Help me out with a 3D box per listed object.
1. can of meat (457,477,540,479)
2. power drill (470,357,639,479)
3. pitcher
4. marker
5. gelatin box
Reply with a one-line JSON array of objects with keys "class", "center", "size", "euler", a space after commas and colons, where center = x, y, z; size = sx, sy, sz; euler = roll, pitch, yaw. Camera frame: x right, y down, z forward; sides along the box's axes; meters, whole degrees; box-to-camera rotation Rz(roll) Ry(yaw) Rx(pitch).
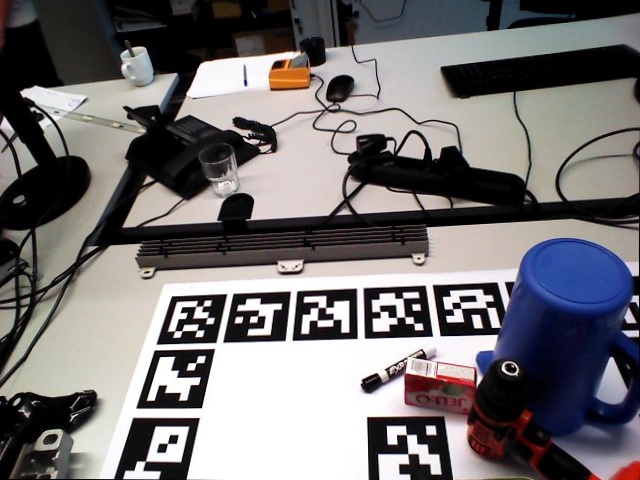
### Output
[{"class": "can of meat", "center": [0.187, 0.293, 0.540], "size": [0.102, 0.084, 0.057], "euler": [-4, 43, 7]}, {"class": "power drill", "center": [0.251, 0.212, 0.543], "size": [0.187, 0.185, 0.057], "euler": [28, 59, 26]}, {"class": "pitcher", "center": [0.301, 0.120, 0.593], "size": [0.190, 0.243, 0.132], "euler": [18, 54, 35]}, {"class": "marker", "center": [0.120, 0.168, 0.727], "size": [0.121, 0.020, 0.019], "euler": [-23, 46, -10]}, {"class": "gelatin box", "center": [0.168, 0.186, 0.664], "size": [0.090, 0.073, 0.030], "euler": [6, 50, 14]}]
